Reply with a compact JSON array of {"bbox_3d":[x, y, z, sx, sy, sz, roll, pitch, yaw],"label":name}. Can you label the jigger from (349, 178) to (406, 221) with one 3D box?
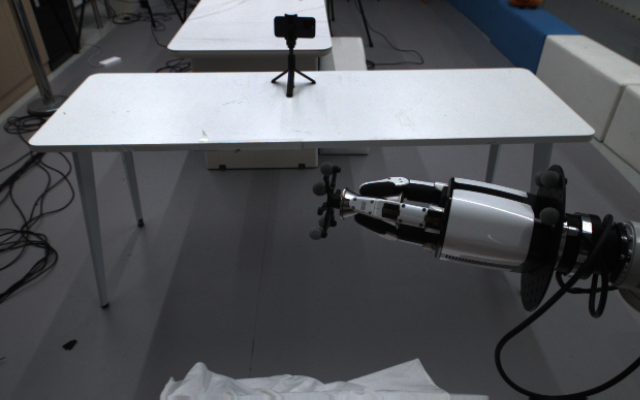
[{"bbox_3d":[0.067,0.005,0.568,0.071,0.043,0.043,7,35,15],"label":"jigger"}]
